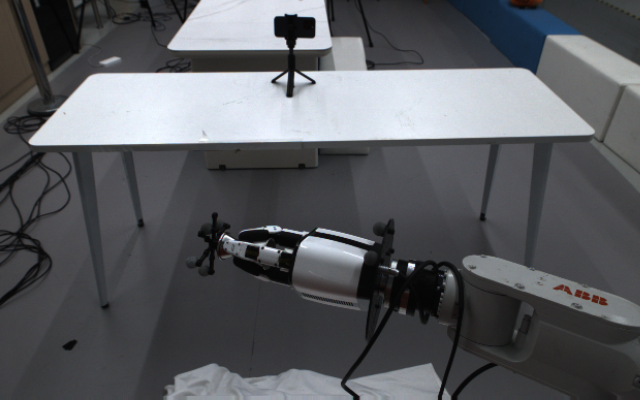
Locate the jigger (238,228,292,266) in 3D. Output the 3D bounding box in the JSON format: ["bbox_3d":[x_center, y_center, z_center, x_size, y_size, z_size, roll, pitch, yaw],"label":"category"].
[{"bbox_3d":[-0.094,0.064,0.656,0.071,0.043,0.043,8,35,15],"label":"jigger"}]
